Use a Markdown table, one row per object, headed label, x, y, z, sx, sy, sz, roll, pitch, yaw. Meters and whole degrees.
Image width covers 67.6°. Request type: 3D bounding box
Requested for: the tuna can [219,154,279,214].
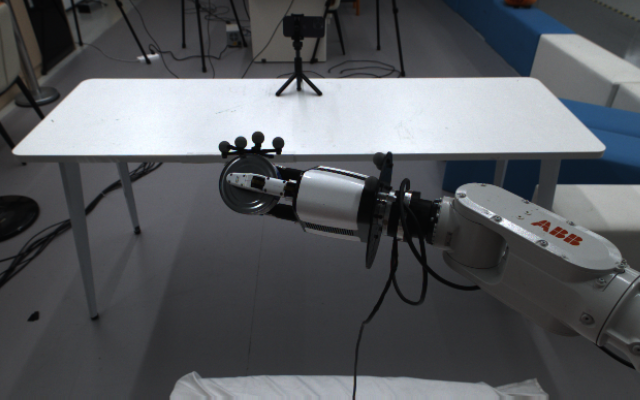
| label | x | y | z | sx | sy | sz | roll | pitch | yaw |
| --- | --- | --- | --- | --- | --- | --- | --- | --- | --- |
| tuna can | -0.092 | -0.020 | 0.685 | 0.085 | 0.085 | 0.034 | 10 | -6 | 11 |
